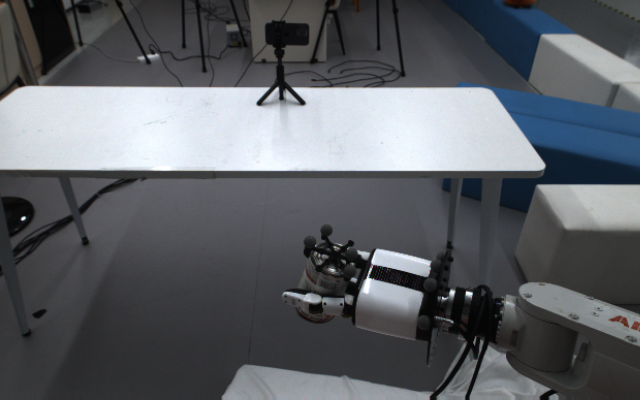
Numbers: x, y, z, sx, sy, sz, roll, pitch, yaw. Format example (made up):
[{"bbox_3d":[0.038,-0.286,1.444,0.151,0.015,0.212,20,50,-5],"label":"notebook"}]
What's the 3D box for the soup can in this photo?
[{"bbox_3d":[0.007,0.121,0.699,0.067,0.101,0.067,13,35,-9],"label":"soup can"}]
